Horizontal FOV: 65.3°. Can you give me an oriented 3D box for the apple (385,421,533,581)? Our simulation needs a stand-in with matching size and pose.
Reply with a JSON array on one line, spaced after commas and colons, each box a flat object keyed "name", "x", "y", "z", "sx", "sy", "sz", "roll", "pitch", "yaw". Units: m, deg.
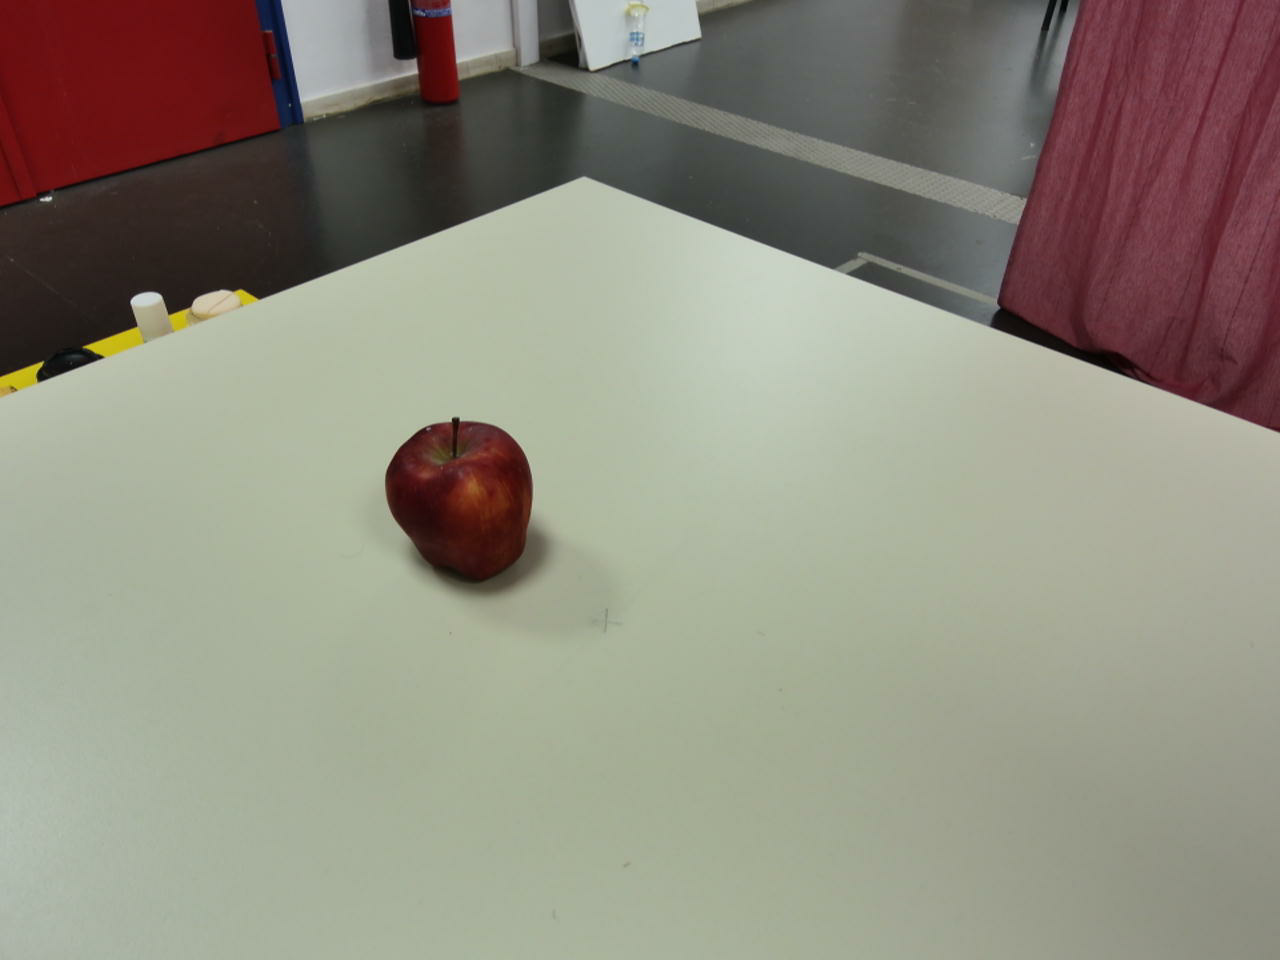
[{"name": "apple", "x": -0.098, "y": 0.006, "z": 0.548, "sx": 0.083, "sy": 0.090, "sz": 0.083, "roll": 1, "pitch": 37, "yaw": -1}]
